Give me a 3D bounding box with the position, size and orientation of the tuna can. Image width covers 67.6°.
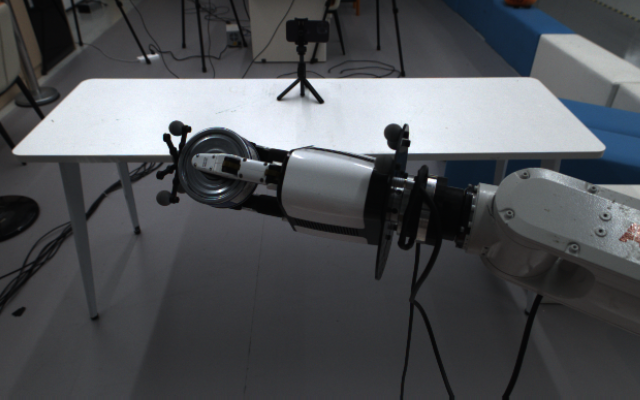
[{"bbox_3d":[-0.108,-0.036,0.530,0.085,0.085,0.034,10,-6,11],"label":"tuna can"}]
